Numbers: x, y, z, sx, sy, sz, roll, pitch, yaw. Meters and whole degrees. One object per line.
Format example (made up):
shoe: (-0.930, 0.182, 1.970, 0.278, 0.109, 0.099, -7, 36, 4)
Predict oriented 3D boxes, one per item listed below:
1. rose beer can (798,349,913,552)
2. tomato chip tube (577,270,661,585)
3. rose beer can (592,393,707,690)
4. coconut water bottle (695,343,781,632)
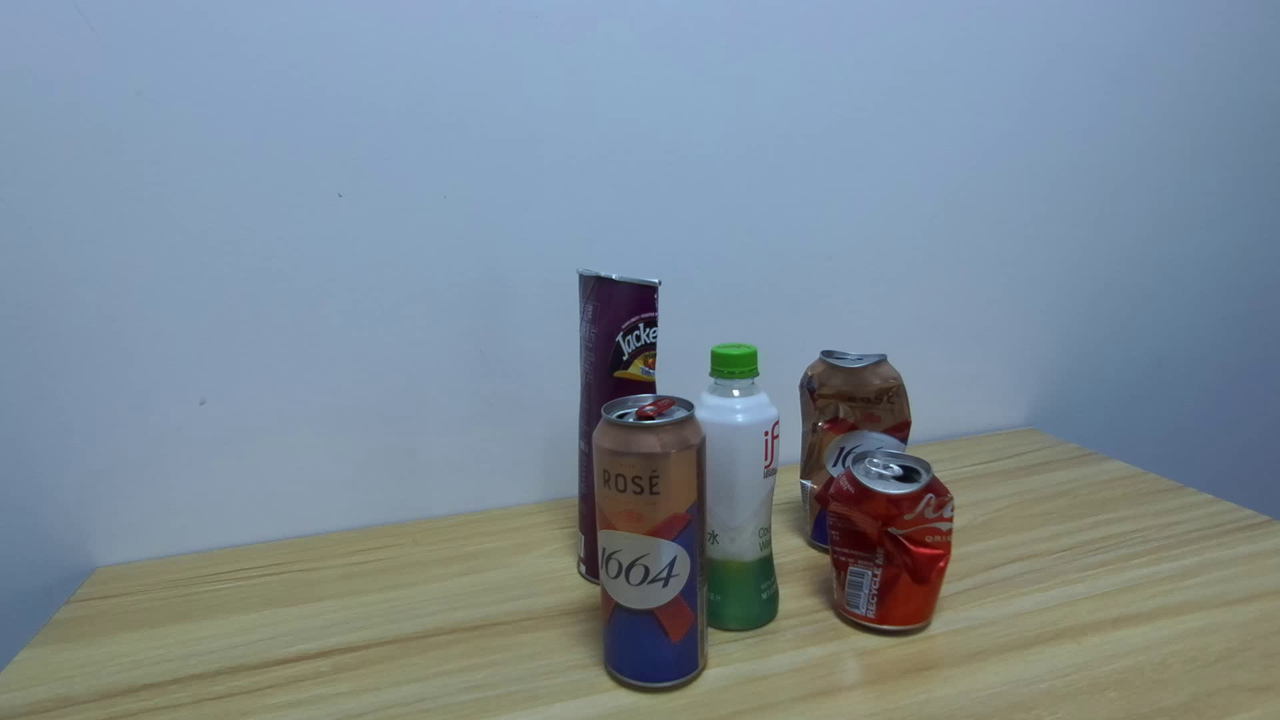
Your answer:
rose beer can: (0.169, 0.075, 0.569, 0.074, 0.161, 0.068, -2, 9, -14)
tomato chip tube: (-0.015, 0.052, 0.537, 0.078, 0.235, 0.090, 0, 10, 8)
rose beer can: (0.008, 0.111, 0.429, 0.068, 0.169, 0.068, -1, 14, 1)
coconut water bottle: (0.064, 0.085, 0.482, 0.063, 0.188, 0.063, -2, 12, 1)
